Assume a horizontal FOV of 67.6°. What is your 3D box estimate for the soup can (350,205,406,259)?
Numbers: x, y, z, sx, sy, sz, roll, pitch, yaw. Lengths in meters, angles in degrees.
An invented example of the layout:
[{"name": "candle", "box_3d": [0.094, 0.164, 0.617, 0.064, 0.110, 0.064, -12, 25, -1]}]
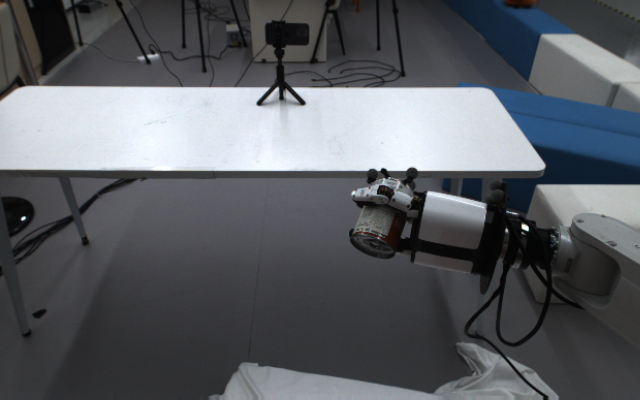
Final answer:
[{"name": "soup can", "box_3d": [0.093, 0.024, 0.708, 0.067, 0.067, 0.101, 15, 62, 18]}]
